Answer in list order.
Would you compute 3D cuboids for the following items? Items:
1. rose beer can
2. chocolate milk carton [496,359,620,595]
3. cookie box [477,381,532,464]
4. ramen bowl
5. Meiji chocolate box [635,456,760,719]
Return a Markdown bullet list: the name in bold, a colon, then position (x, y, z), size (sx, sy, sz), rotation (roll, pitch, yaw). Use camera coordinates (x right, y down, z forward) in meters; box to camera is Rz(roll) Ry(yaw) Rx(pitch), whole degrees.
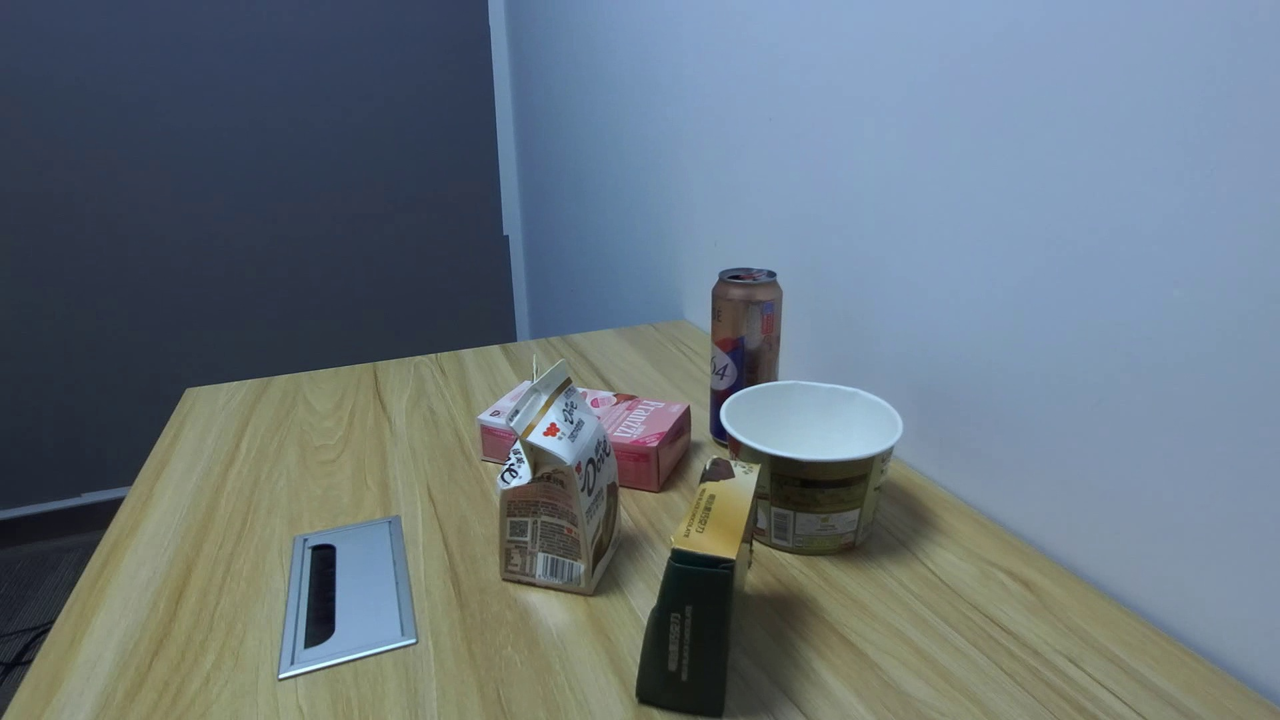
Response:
- **rose beer can**: position (0.102, 0.001, 0.683), size (0.068, 0.169, 0.068), rotation (-1, 20, 1)
- **chocolate milk carton**: position (-0.061, 0.078, 0.506), size (0.073, 0.155, 0.076), rotation (3, 22, 17)
- **cookie box**: position (-0.055, 0.071, 0.675), size (0.187, 0.049, 0.105), rotation (6, 22, 22)
- **ramen bowl**: position (0.131, 0.085, 0.559), size (0.140, 0.095, 0.140), rotation (-1, 21, 1)
- **Meiji chocolate box**: position (0.040, 0.131, 0.422), size (0.051, 0.117, 0.117), rotation (11, 24, 11)
